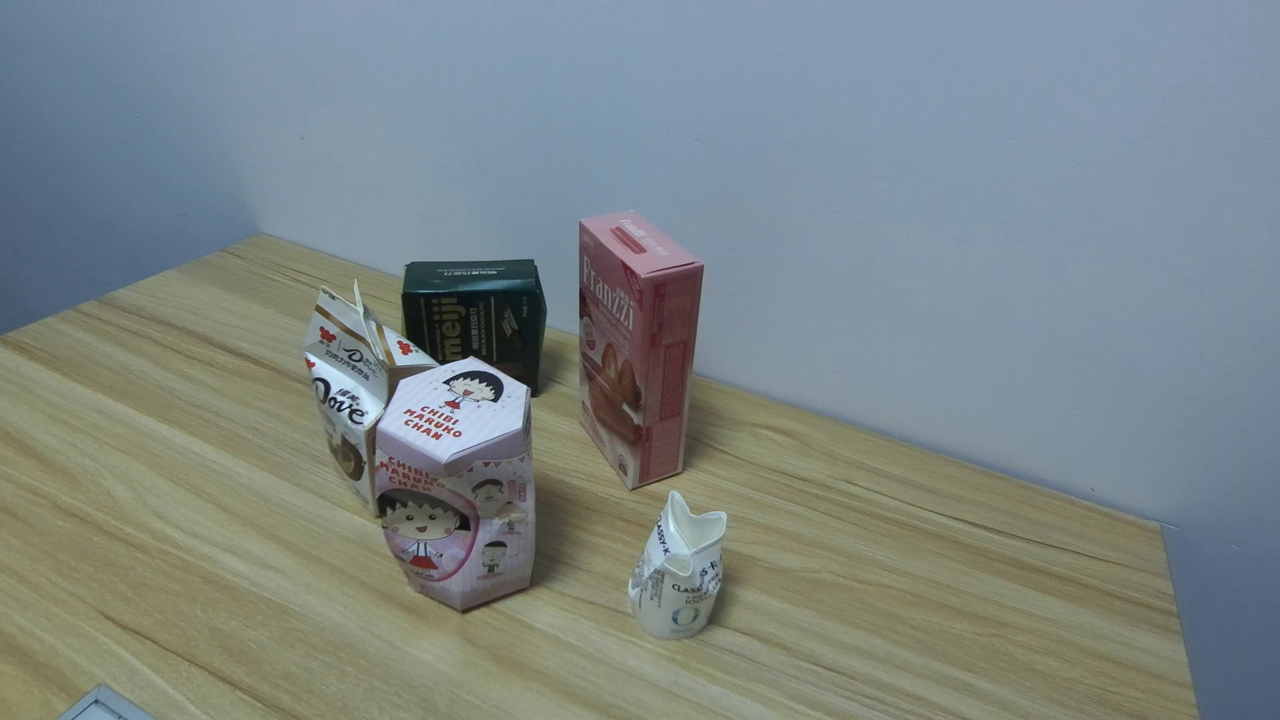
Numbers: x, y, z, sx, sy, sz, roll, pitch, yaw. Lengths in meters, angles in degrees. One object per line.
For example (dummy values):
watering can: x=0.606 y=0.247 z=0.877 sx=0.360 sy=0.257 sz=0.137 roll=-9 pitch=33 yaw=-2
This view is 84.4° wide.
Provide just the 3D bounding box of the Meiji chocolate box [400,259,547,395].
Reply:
Meiji chocolate box: x=-0.141 y=-0.028 z=0.605 sx=0.123 sy=0.116 sz=0.058 roll=0 pitch=36 yaw=-9

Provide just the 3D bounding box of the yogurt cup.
yogurt cup: x=0.024 y=0.128 z=0.433 sx=0.055 sy=0.072 sz=0.055 roll=26 pitch=41 yaw=25

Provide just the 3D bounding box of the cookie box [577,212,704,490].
cookie box: x=-0.005 y=-0.004 z=0.523 sx=0.048 sy=0.185 sz=0.095 roll=-16 pitch=38 yaw=-25

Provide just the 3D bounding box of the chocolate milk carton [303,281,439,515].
chocolate milk carton: x=-0.179 y=0.020 z=0.491 sx=0.074 sy=0.156 sz=0.076 roll=-26 pitch=47 yaw=-32

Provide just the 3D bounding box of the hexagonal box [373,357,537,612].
hexagonal box: x=-0.111 y=0.078 z=0.436 sx=0.089 sy=0.134 sz=0.093 roll=-2 pitch=35 yaw=-10
